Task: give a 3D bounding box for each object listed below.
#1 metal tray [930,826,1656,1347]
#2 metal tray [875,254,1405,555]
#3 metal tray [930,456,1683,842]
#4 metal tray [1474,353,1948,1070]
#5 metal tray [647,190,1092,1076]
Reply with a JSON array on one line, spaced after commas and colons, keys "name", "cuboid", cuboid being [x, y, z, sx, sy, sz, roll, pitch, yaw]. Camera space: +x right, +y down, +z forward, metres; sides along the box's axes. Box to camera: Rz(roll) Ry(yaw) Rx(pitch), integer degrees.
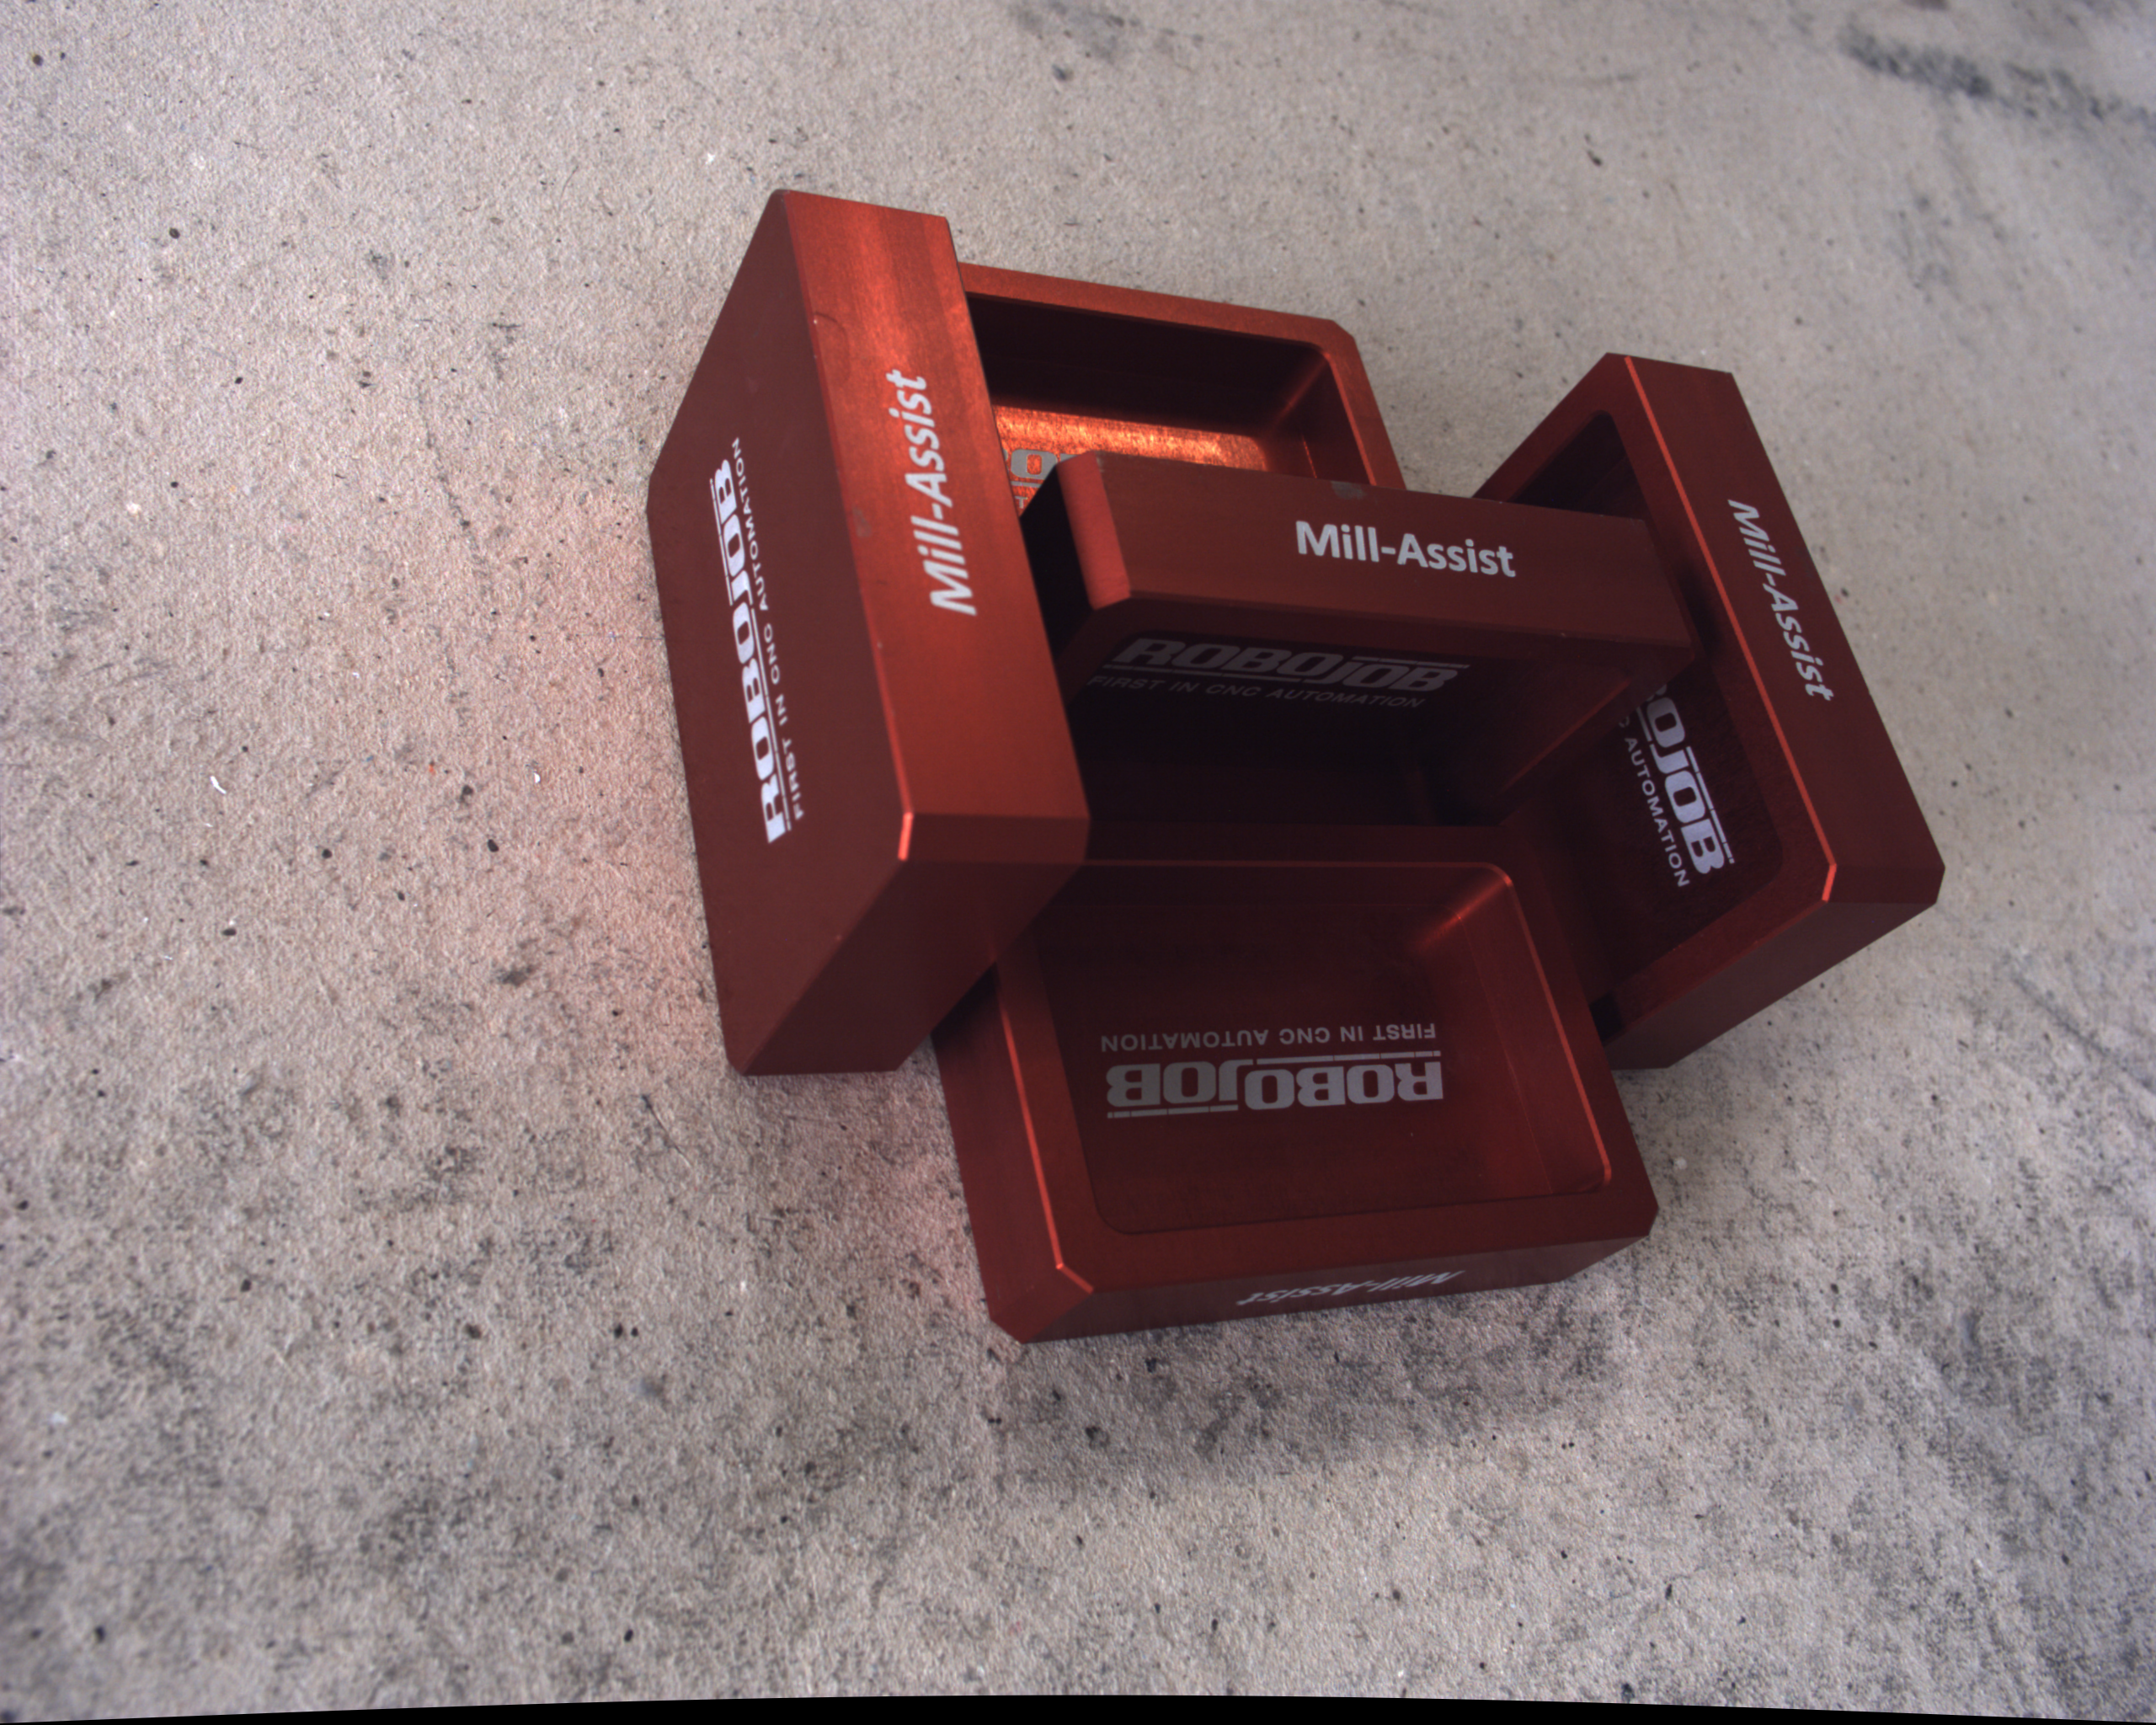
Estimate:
[{"name": "metal tray", "cuboid": [0.039, 0.039, 0.401, 0.131, 0.030, 0.090, 1, 60, -28]}, {"name": "metal tray", "cuboid": [0.010, -0.082, 0.457, 0.131, 0.030, 0.090, 0, 65, -28]}, {"name": "metal tray", "cuboid": [0.039, -0.034, 0.407, 0.131, 0.090, 0.030, 1, 63, -28]}, {"name": "metal tray", "cuboid": [0.120, -0.031, 0.447, 0.030, 0.090, 0.130, 1, 61, -28]}, {"name": "metal tray", "cuboid": [-0.042, -0.038, 0.364, 0.030, 0.090, 0.130, 1, 62, -28]}]
